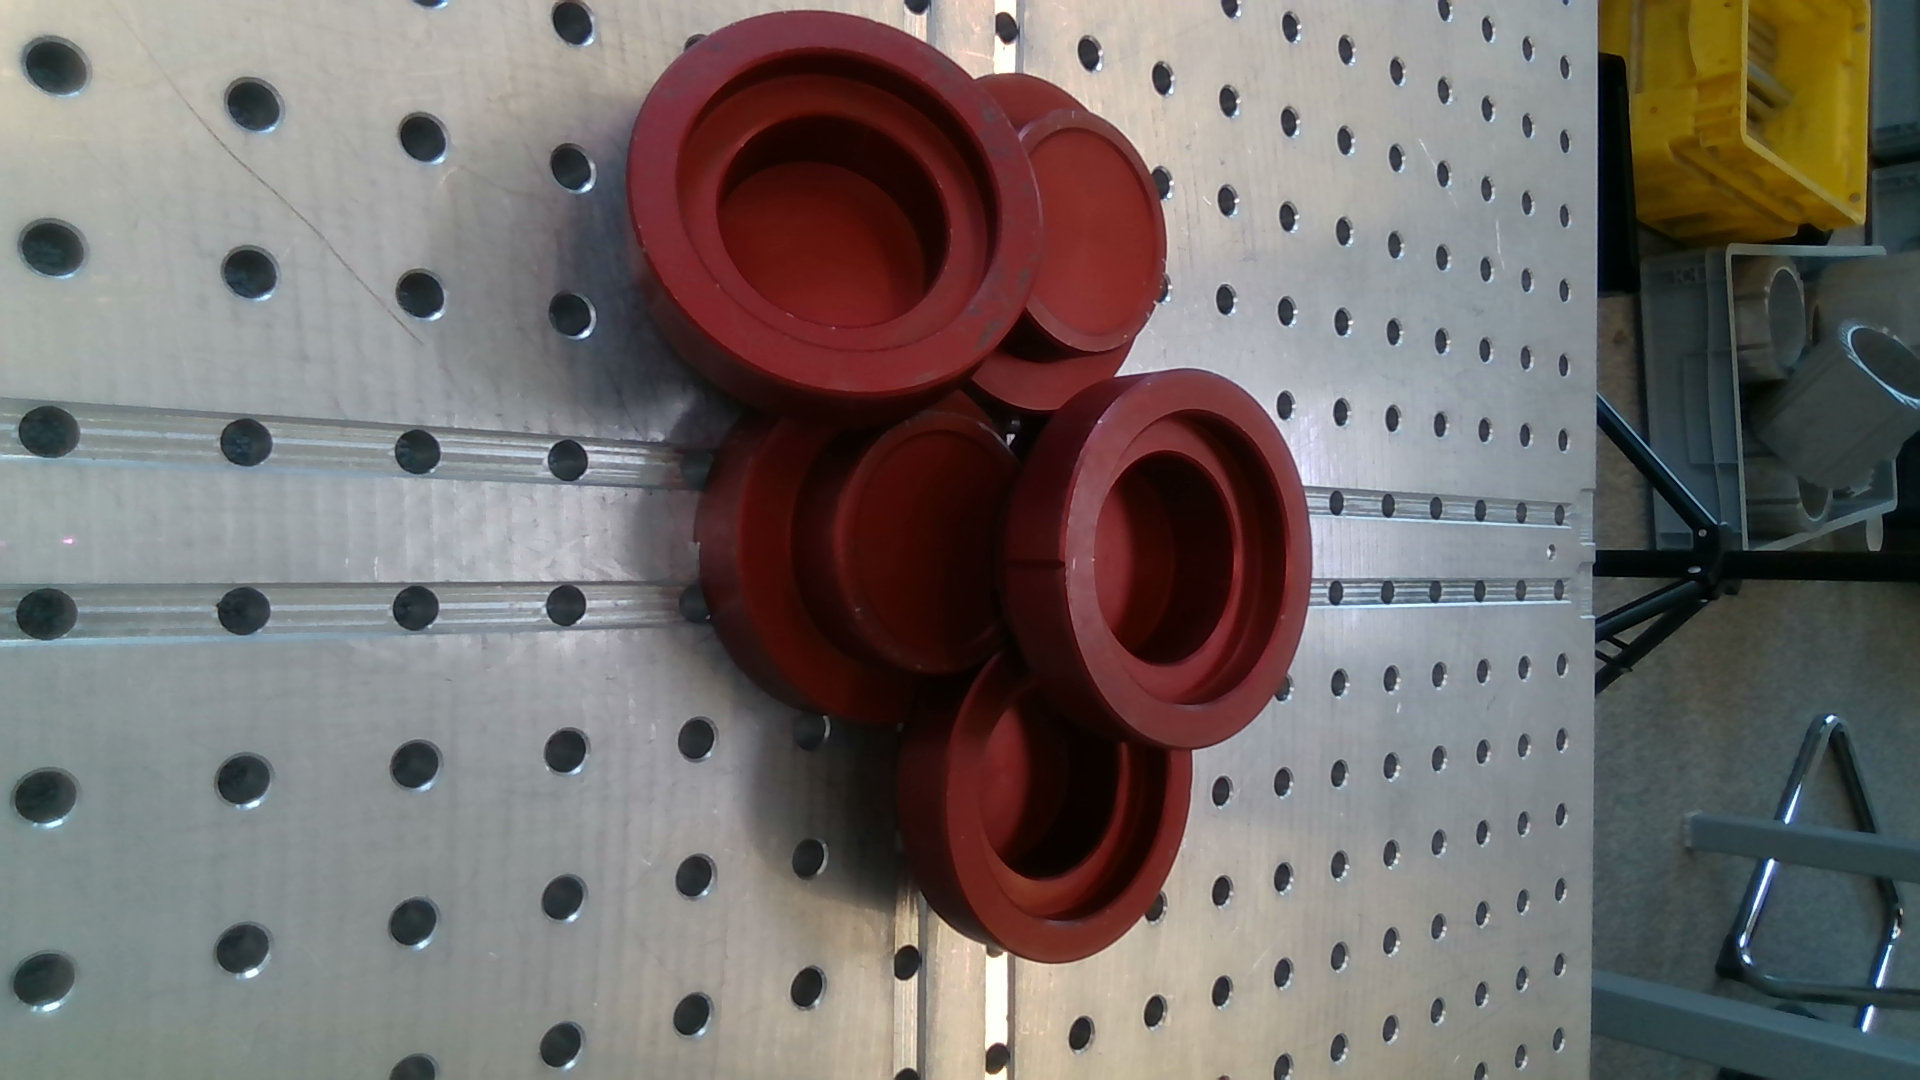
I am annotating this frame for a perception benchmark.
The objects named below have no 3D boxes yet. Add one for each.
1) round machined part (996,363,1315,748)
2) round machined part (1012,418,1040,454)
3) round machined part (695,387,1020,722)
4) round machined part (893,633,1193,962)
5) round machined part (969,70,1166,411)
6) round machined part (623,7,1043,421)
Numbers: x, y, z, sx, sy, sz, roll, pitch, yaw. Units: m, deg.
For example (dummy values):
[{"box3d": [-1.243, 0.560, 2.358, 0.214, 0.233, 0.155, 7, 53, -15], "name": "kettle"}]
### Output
[{"box3d": [0.048, 0.004, 0.367, 0.098, 0.042, 0.098, 0, 90, -40], "name": "round machined part"}, {"box3d": [0.058, 0.000, 0.432, 0.098, 0.042, 0.098, 0, 90, -40], "name": "round machined part"}, {"box3d": [-0.017, 0.000, 0.368, 0.098, 0.042, 0.098, 0, 90, -40], "name": "round machined part"}, {"box3d": [0.020, 0.068, 0.399, 0.098, 0.042, 0.098, 0, 90, -40], "name": "round machined part"}, {"box3d": [0.022, -0.087, 0.401, 0.098, 0.042, 0.098, 0, 90, -40], "name": "round machined part"}, {"box3d": [-0.033, -0.075, 0.338, 0.098, 0.042, 0.098, 4, 75, -16], "name": "round machined part"}]
